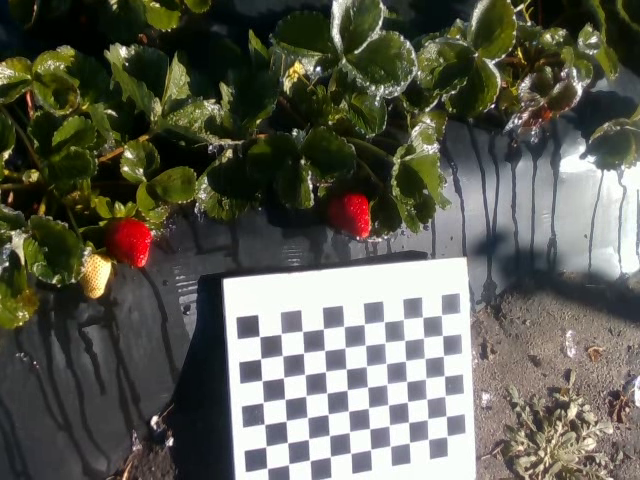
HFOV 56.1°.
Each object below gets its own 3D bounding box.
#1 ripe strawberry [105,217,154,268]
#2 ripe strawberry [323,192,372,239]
[{"bbox_3d":[-0.181,0.009,0.581,0.042,0.061,0.046,-20,-34,-15],"label":"ripe strawberry"},{"bbox_3d":[0.037,-0.024,0.641,0.048,0.061,0.044,-12,-26,-17],"label":"ripe strawberry"}]
